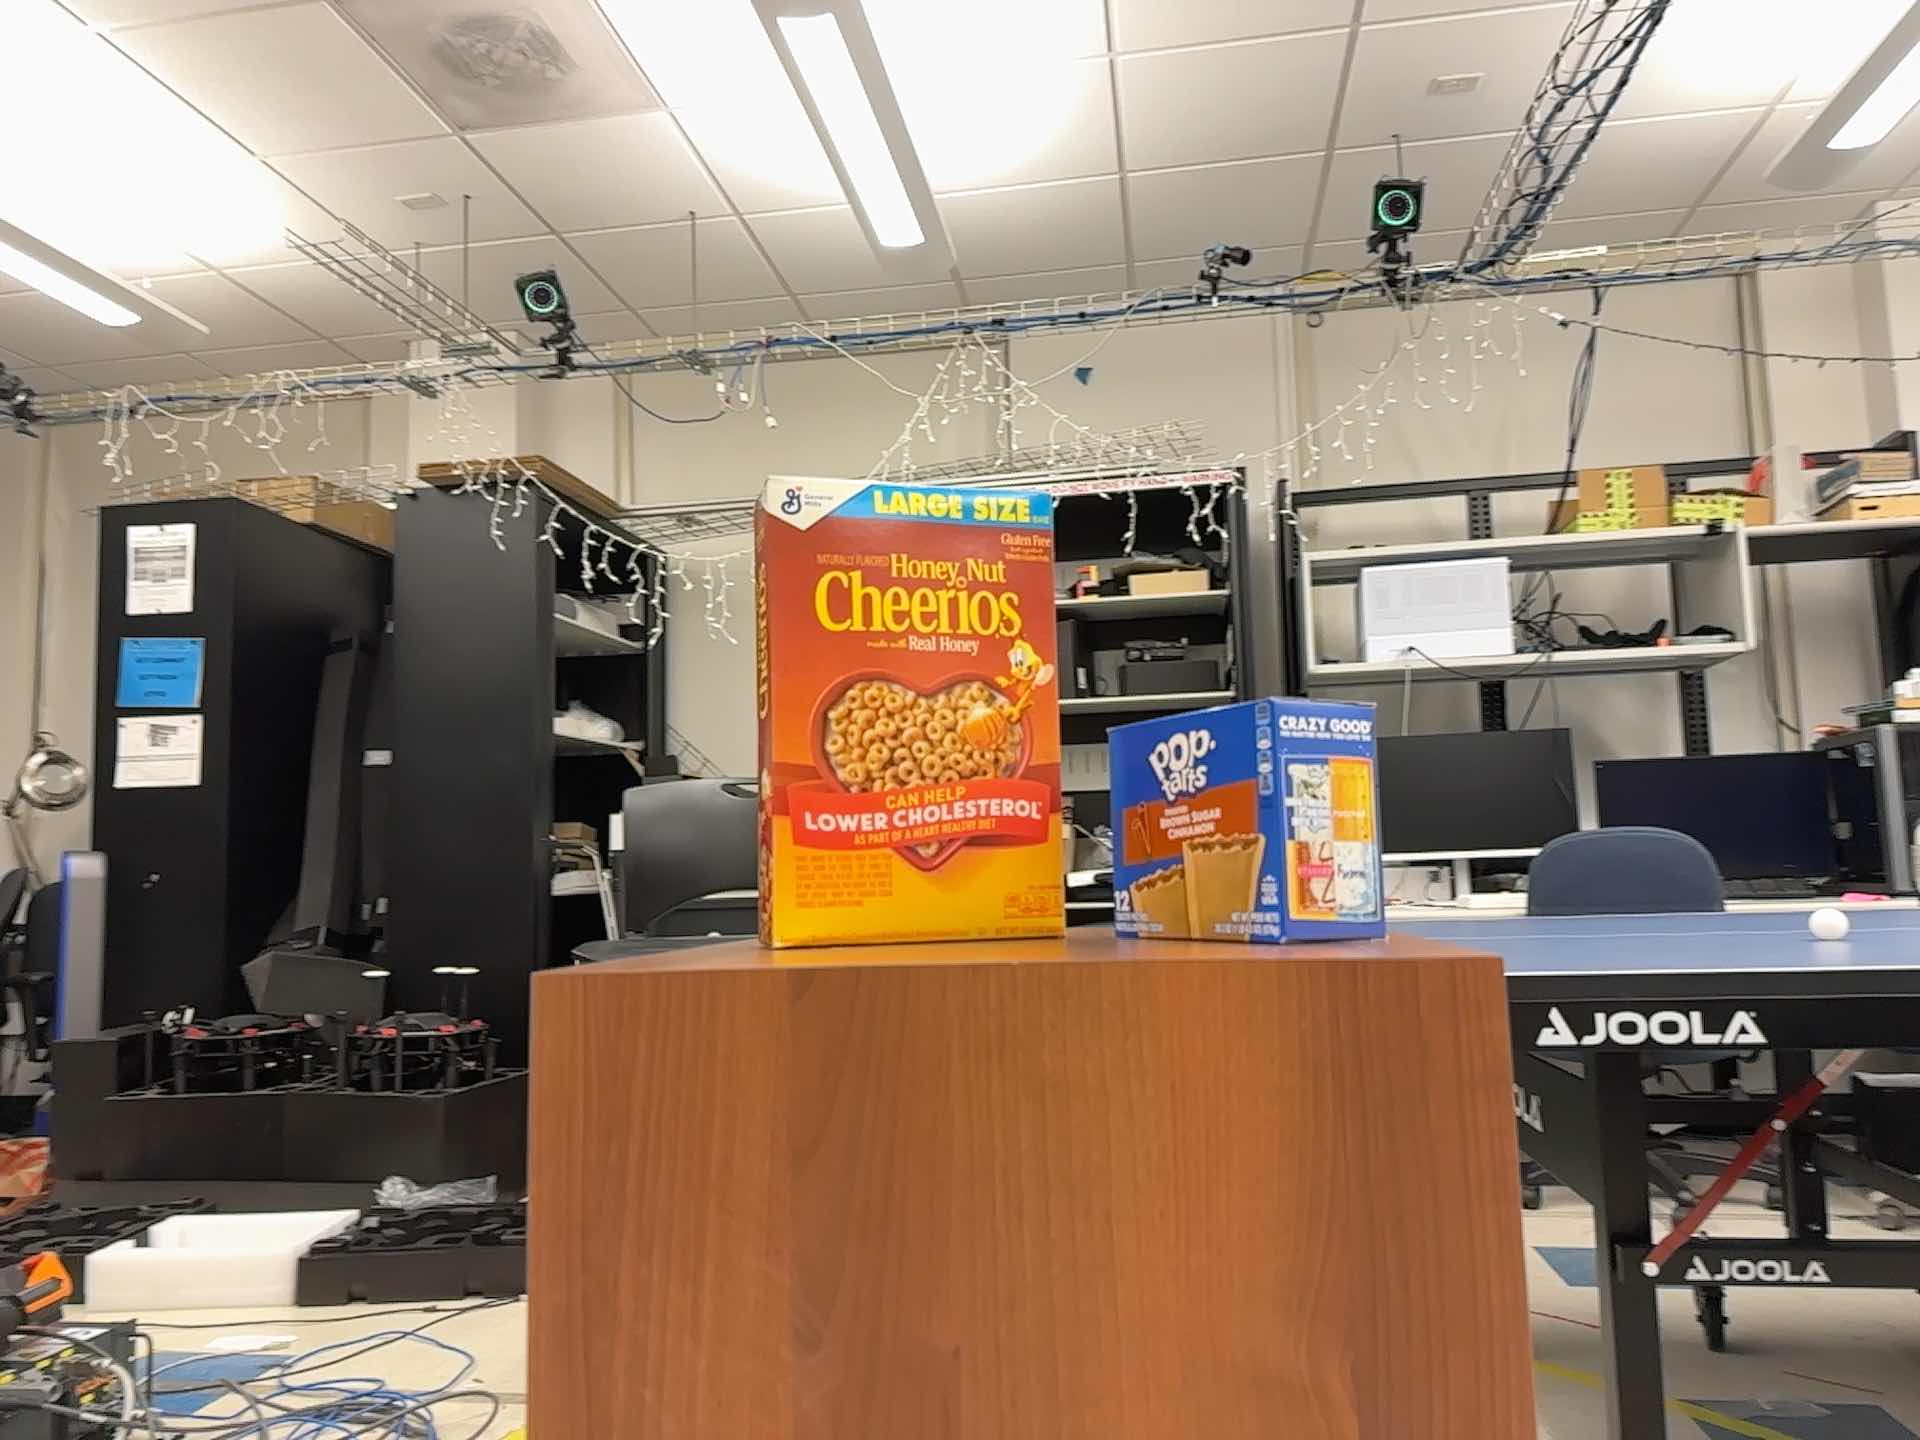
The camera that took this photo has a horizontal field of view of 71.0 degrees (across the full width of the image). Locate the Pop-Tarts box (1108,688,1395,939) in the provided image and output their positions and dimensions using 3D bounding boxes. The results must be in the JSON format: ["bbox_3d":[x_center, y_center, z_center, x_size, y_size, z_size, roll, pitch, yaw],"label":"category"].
[{"bbox_3d":[0.174,0.064,0.837,0.075,0.135,0.161,4,-10,-29],"label":"Pop-Tarts box"}]

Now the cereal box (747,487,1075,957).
[{"bbox_3d":[-0.036,0.000,0.908,0.195,0.297,0.065,1,-9,-20],"label":"cereal box"}]
